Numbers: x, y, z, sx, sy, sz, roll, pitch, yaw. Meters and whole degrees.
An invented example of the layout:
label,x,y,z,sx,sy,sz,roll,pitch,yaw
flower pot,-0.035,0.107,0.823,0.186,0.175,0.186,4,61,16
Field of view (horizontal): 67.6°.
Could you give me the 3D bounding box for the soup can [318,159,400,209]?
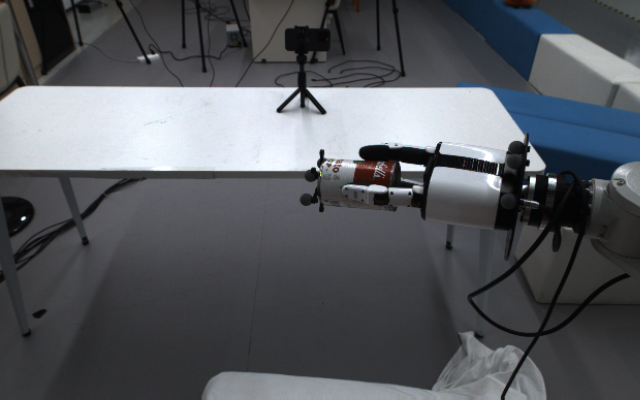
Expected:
label,x,y,z,sx,sy,sz,roll,pitch,yaw
soup can,0.057,-0.022,0.664,0.101,0.067,0.067,4,34,18
